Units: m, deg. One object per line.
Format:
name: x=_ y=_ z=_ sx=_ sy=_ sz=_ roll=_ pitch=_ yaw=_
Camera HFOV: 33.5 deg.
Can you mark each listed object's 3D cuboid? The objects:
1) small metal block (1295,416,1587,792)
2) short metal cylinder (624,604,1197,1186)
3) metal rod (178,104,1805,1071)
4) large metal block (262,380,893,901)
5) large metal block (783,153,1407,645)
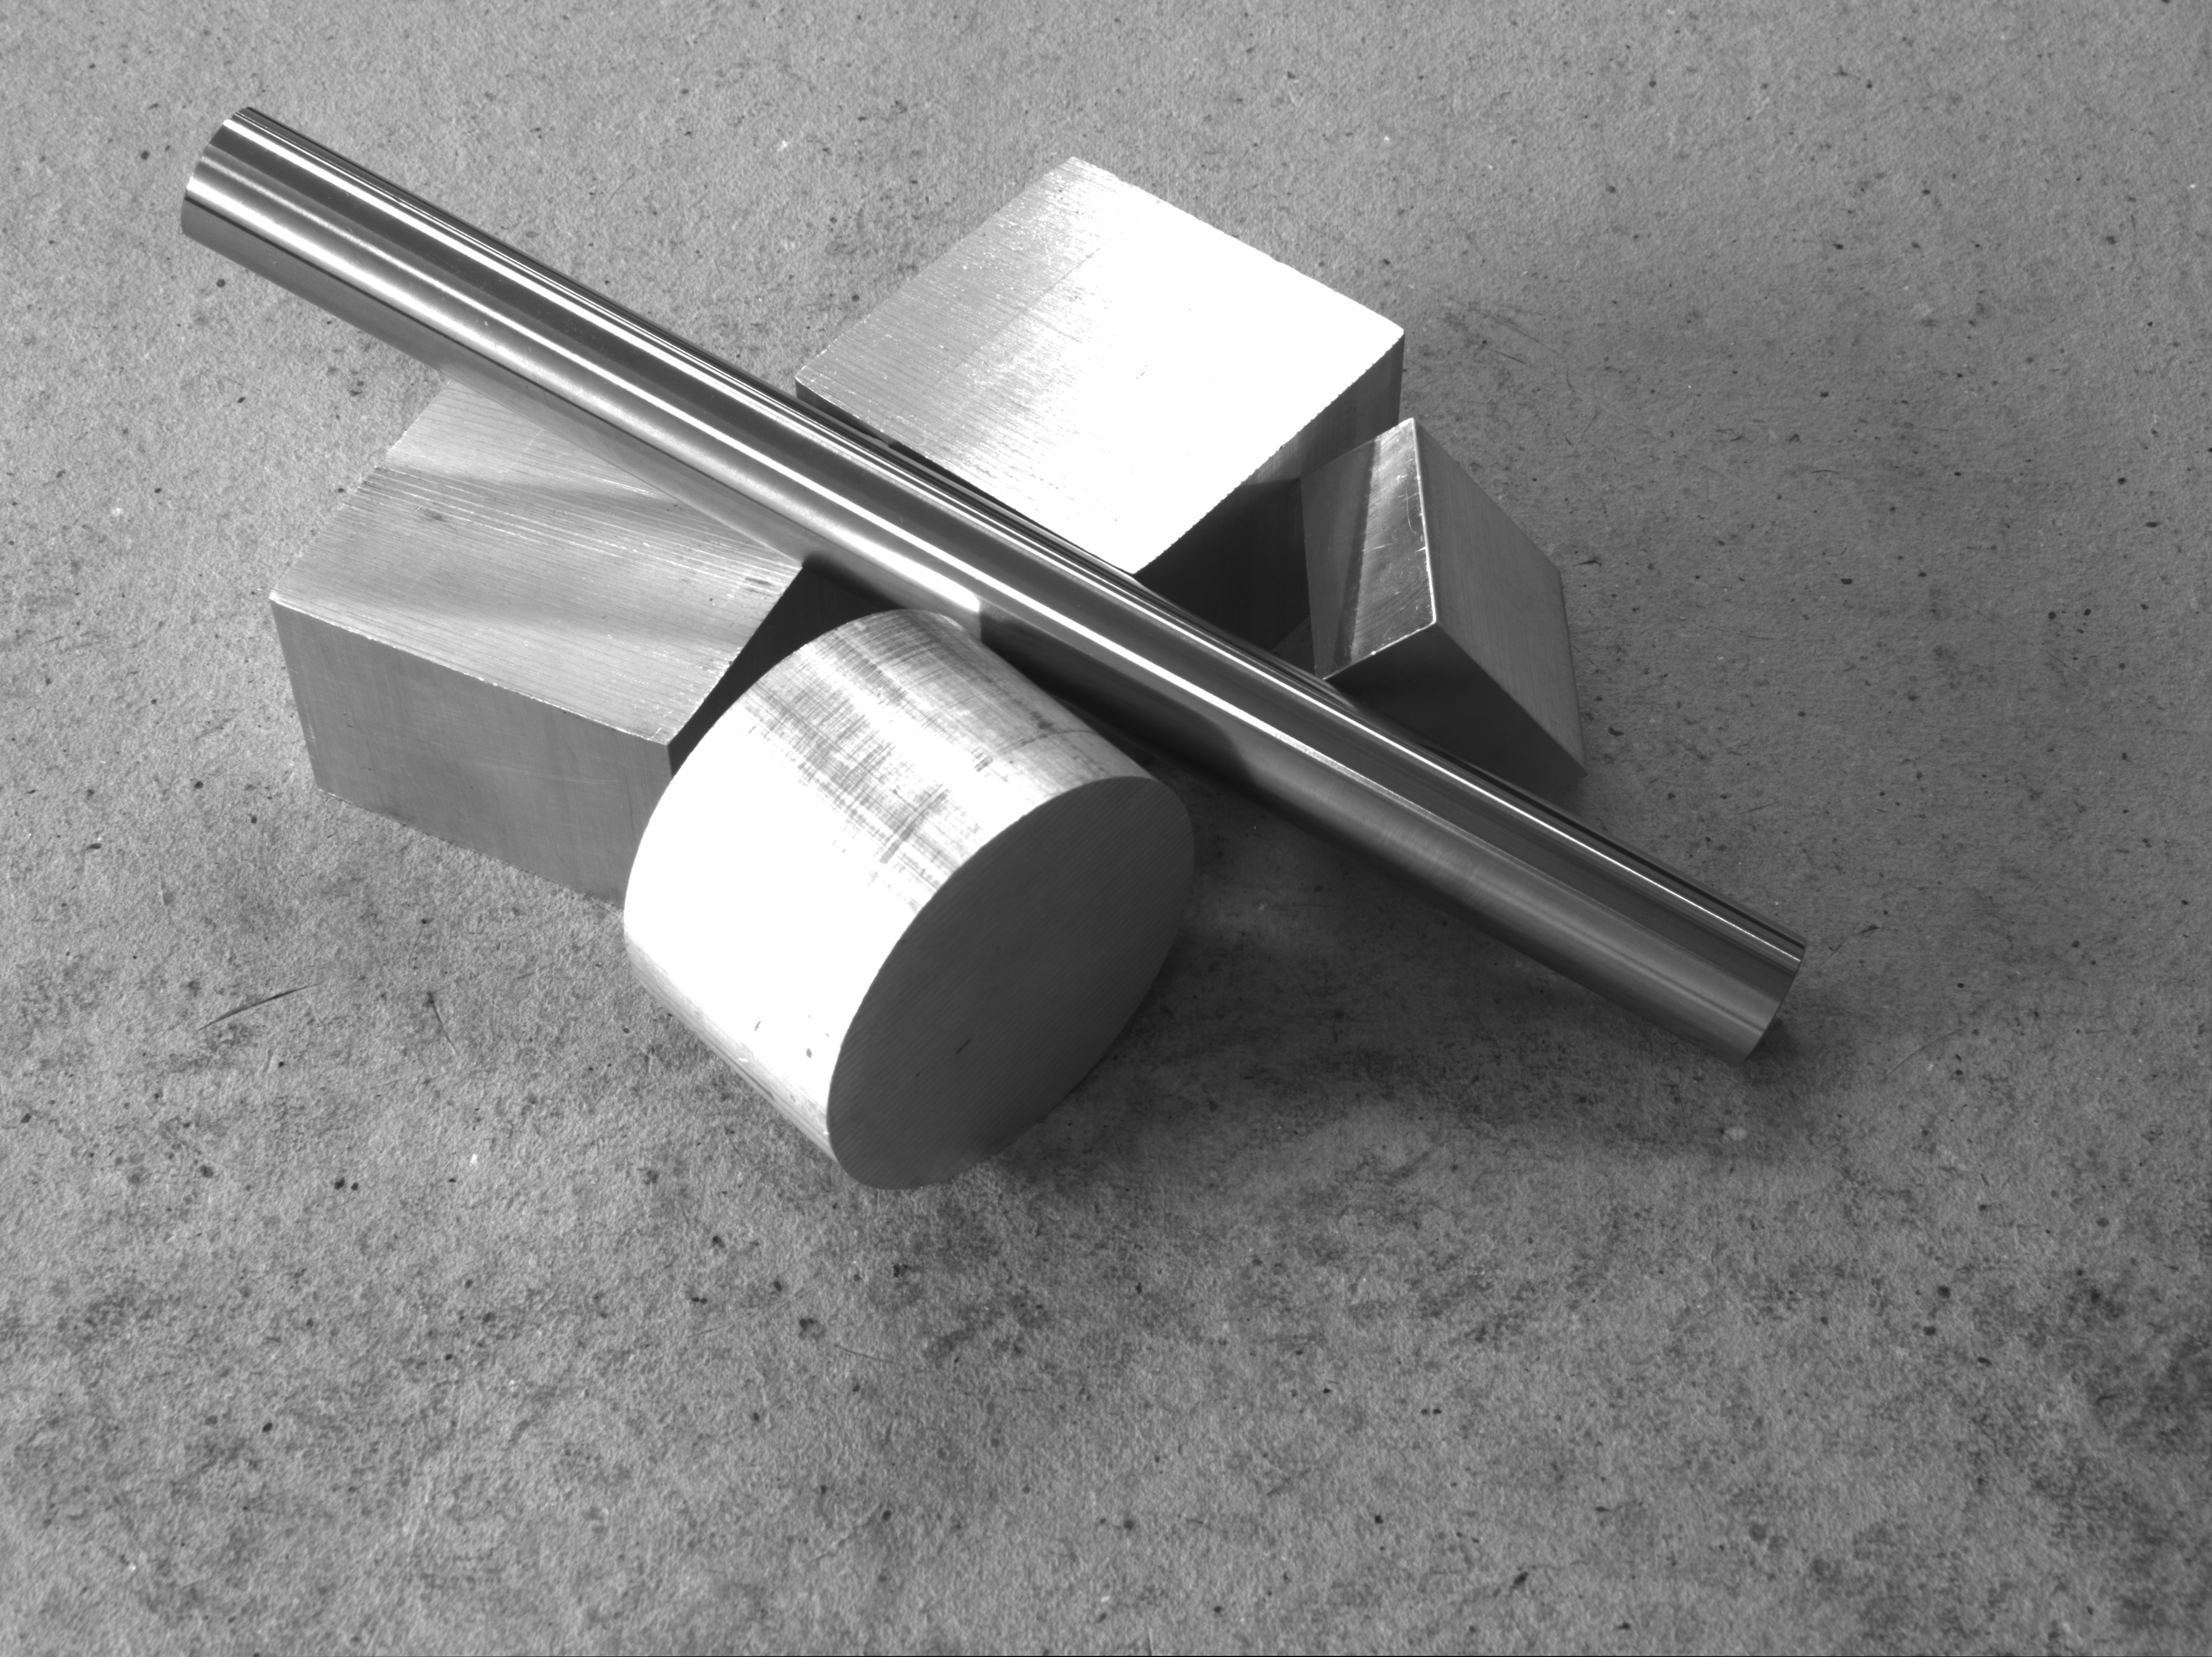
small metal block: x=0.059 y=-0.036 z=0.654 sx=0.025 sy=0.050 sz=0.050 roll=-26 pitch=44 yaw=26
short metal cylinder: x=-0.031 y=0.011 z=0.597 sx=0.080 sy=0.080 sz=0.050 roll=-36 pitch=59 yaw=-26
metal rod: x=-0.020 y=-0.041 z=0.624 sx=0.300 sy=0.025 sz=0.025 roll=28 pitch=54 yaw=2
large metal block: x=-0.091 y=-0.038 z=0.659 sx=0.080 sy=0.050 sz=0.080 roll=20 pitch=53 yaw=16
large metal block: x=-0.001 y=-0.069 z=0.682 sx=0.080 sy=0.050 sz=0.080 roll=32 pitch=57 yaw=24
